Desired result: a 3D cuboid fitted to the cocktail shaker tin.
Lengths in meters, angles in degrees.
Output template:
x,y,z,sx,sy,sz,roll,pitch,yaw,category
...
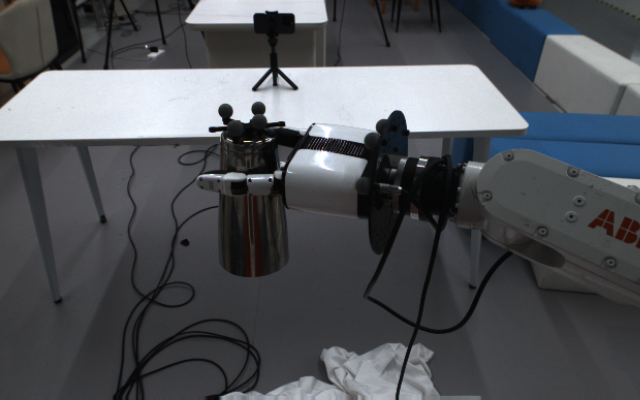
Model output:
x,y,z,sx,sy,sz,roll,pitch,yaw,category
-0.082,-0.003,0.602,0.093,0.170,0.093,1,27,-1,cocktail shaker tin
